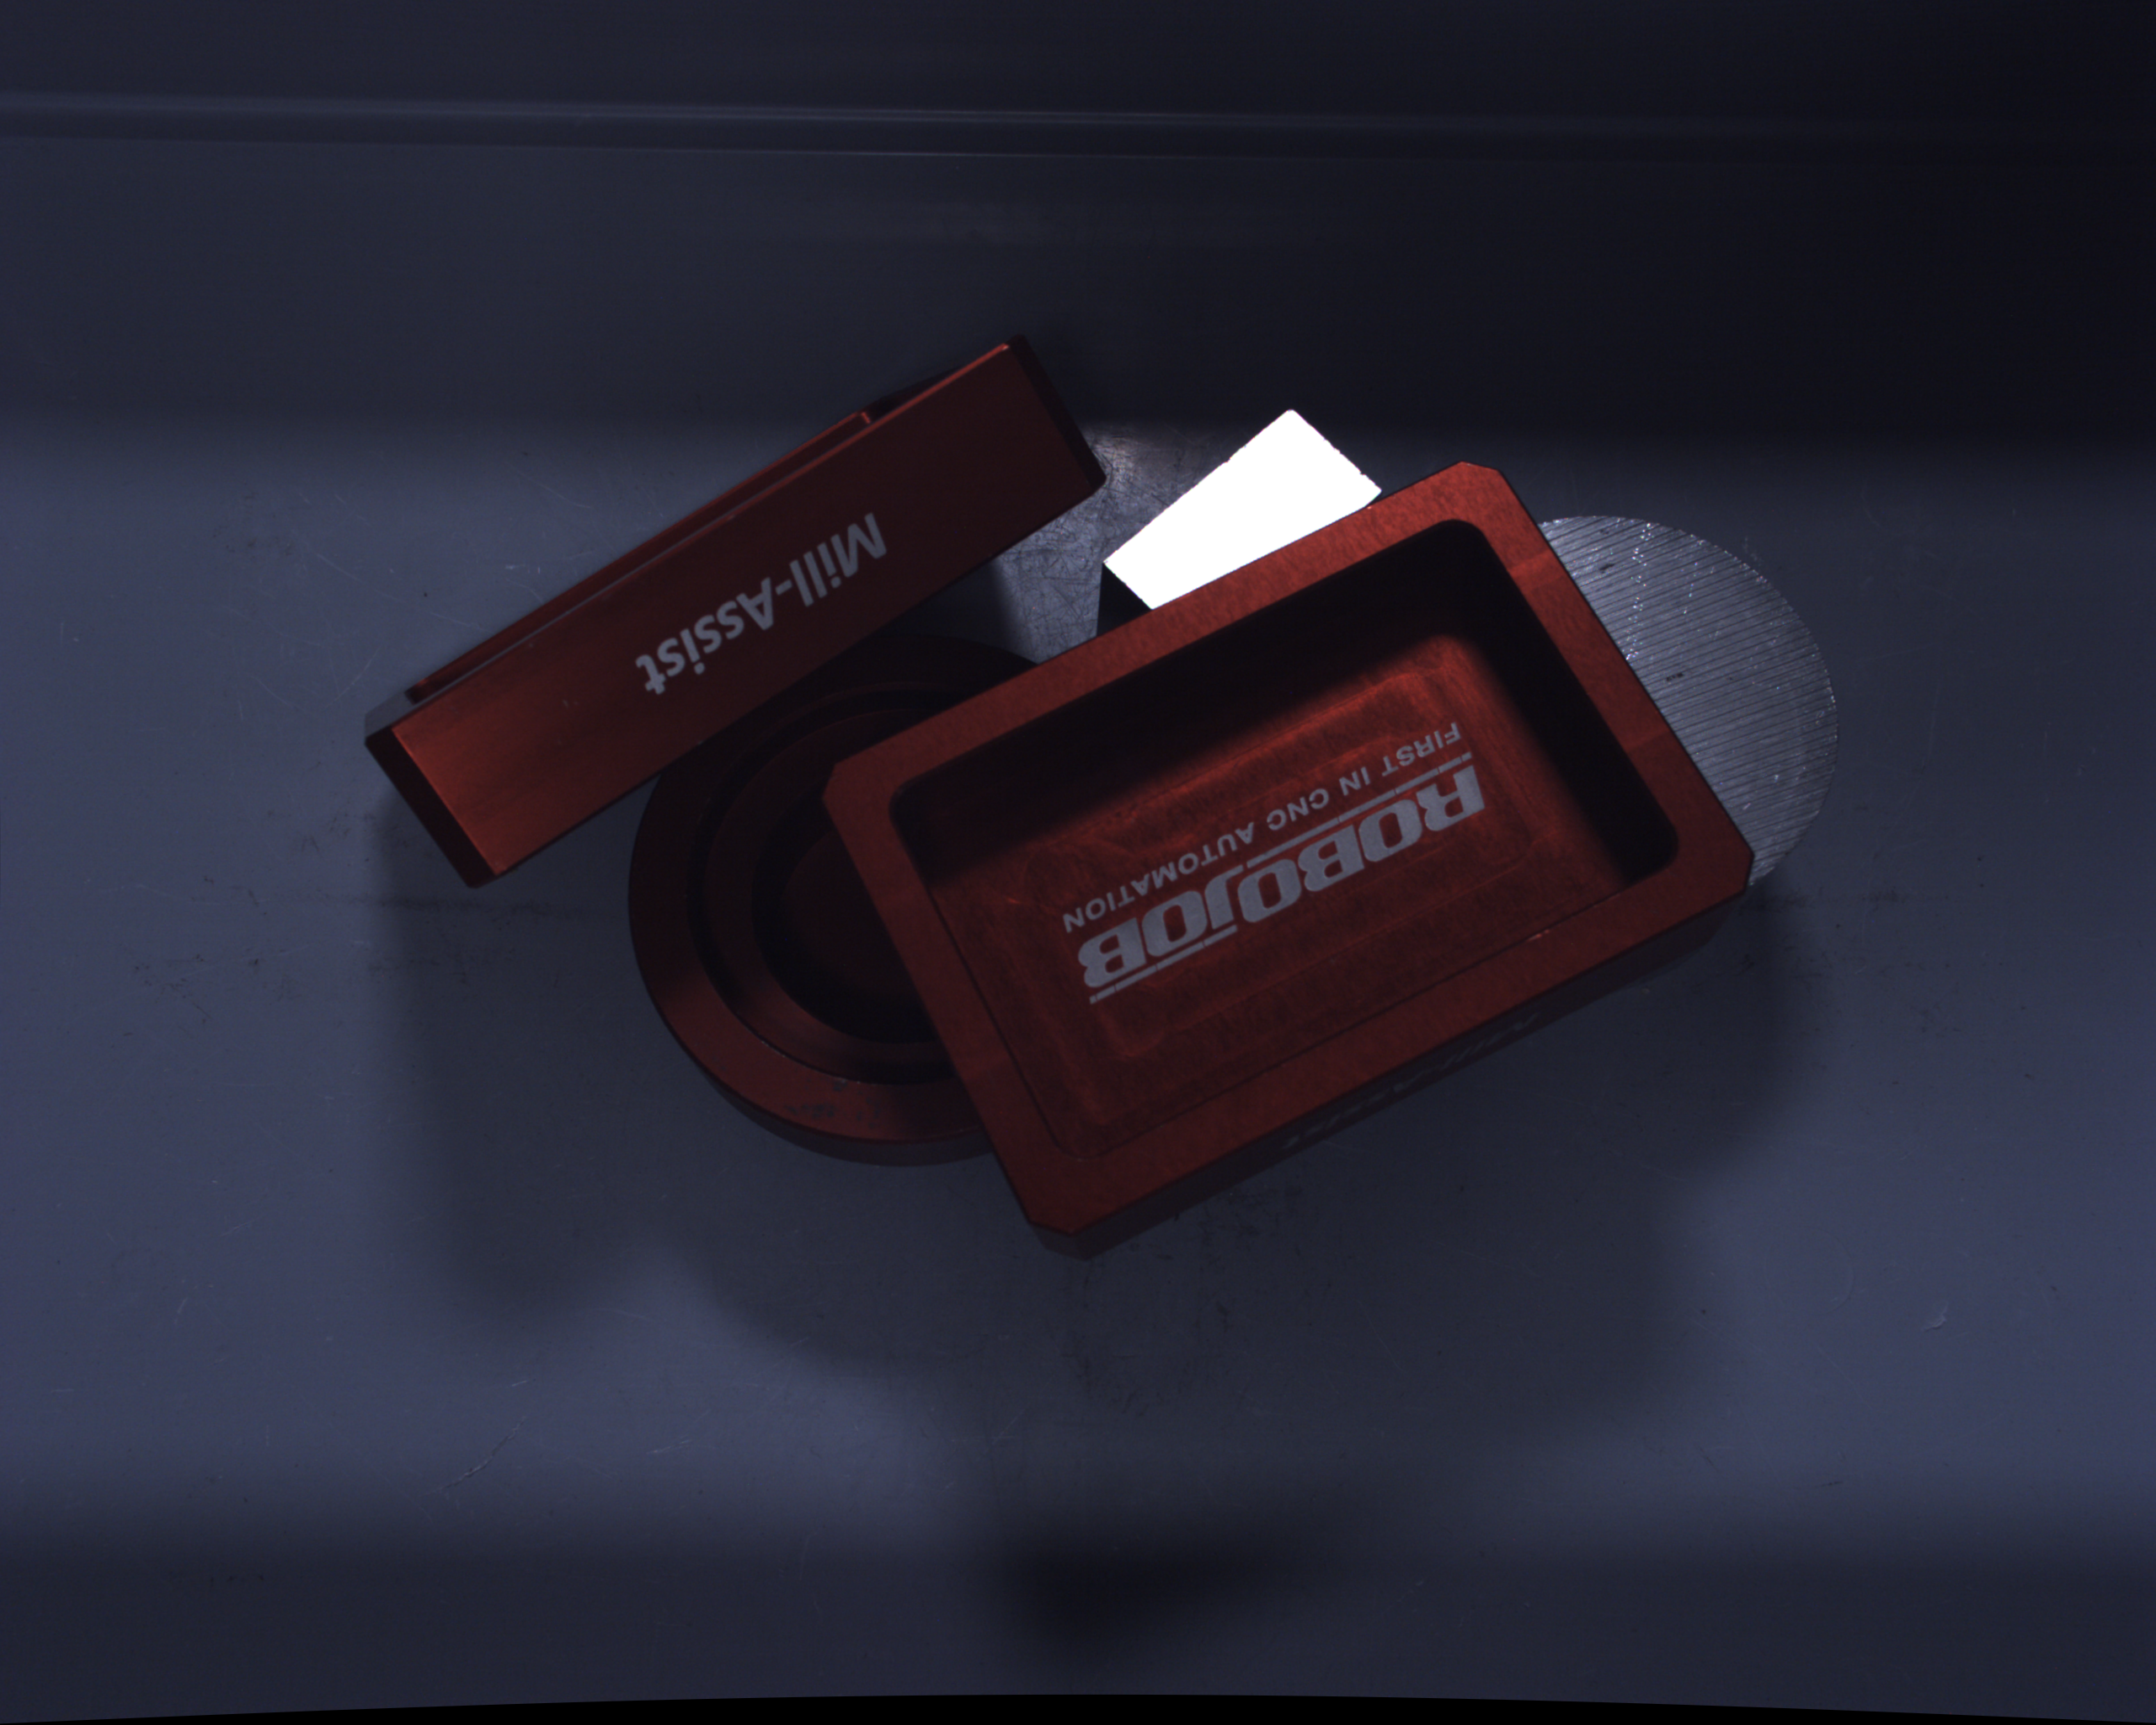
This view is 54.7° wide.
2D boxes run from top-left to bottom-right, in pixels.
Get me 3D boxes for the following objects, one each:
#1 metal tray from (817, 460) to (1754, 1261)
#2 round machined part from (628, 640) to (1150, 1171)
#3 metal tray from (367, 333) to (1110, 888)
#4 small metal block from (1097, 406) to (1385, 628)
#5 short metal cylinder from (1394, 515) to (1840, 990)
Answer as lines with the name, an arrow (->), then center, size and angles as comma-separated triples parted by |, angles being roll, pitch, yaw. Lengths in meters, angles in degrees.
metal tray -> 0.034, -0.001, 0.356 | 0.131, 0.030, 0.090 | -26, 71, -5
round machined part -> -0.032, 0.010, 0.396 | 0.099, 0.042, 0.098 | 0, 70, -1
metal tray -> -0.067, -0.048, 0.388 | 0.131, 0.090, 0.030 | -35, 106, -13
small metal block -> 0.031, -0.055, 0.414 | 0.050, 0.050, 0.025 | -41, 75, -15
short metal cylinder -> 0.098, -0.020, 0.402 | 0.081, 0.050, 0.080 | 0, 70, 0
